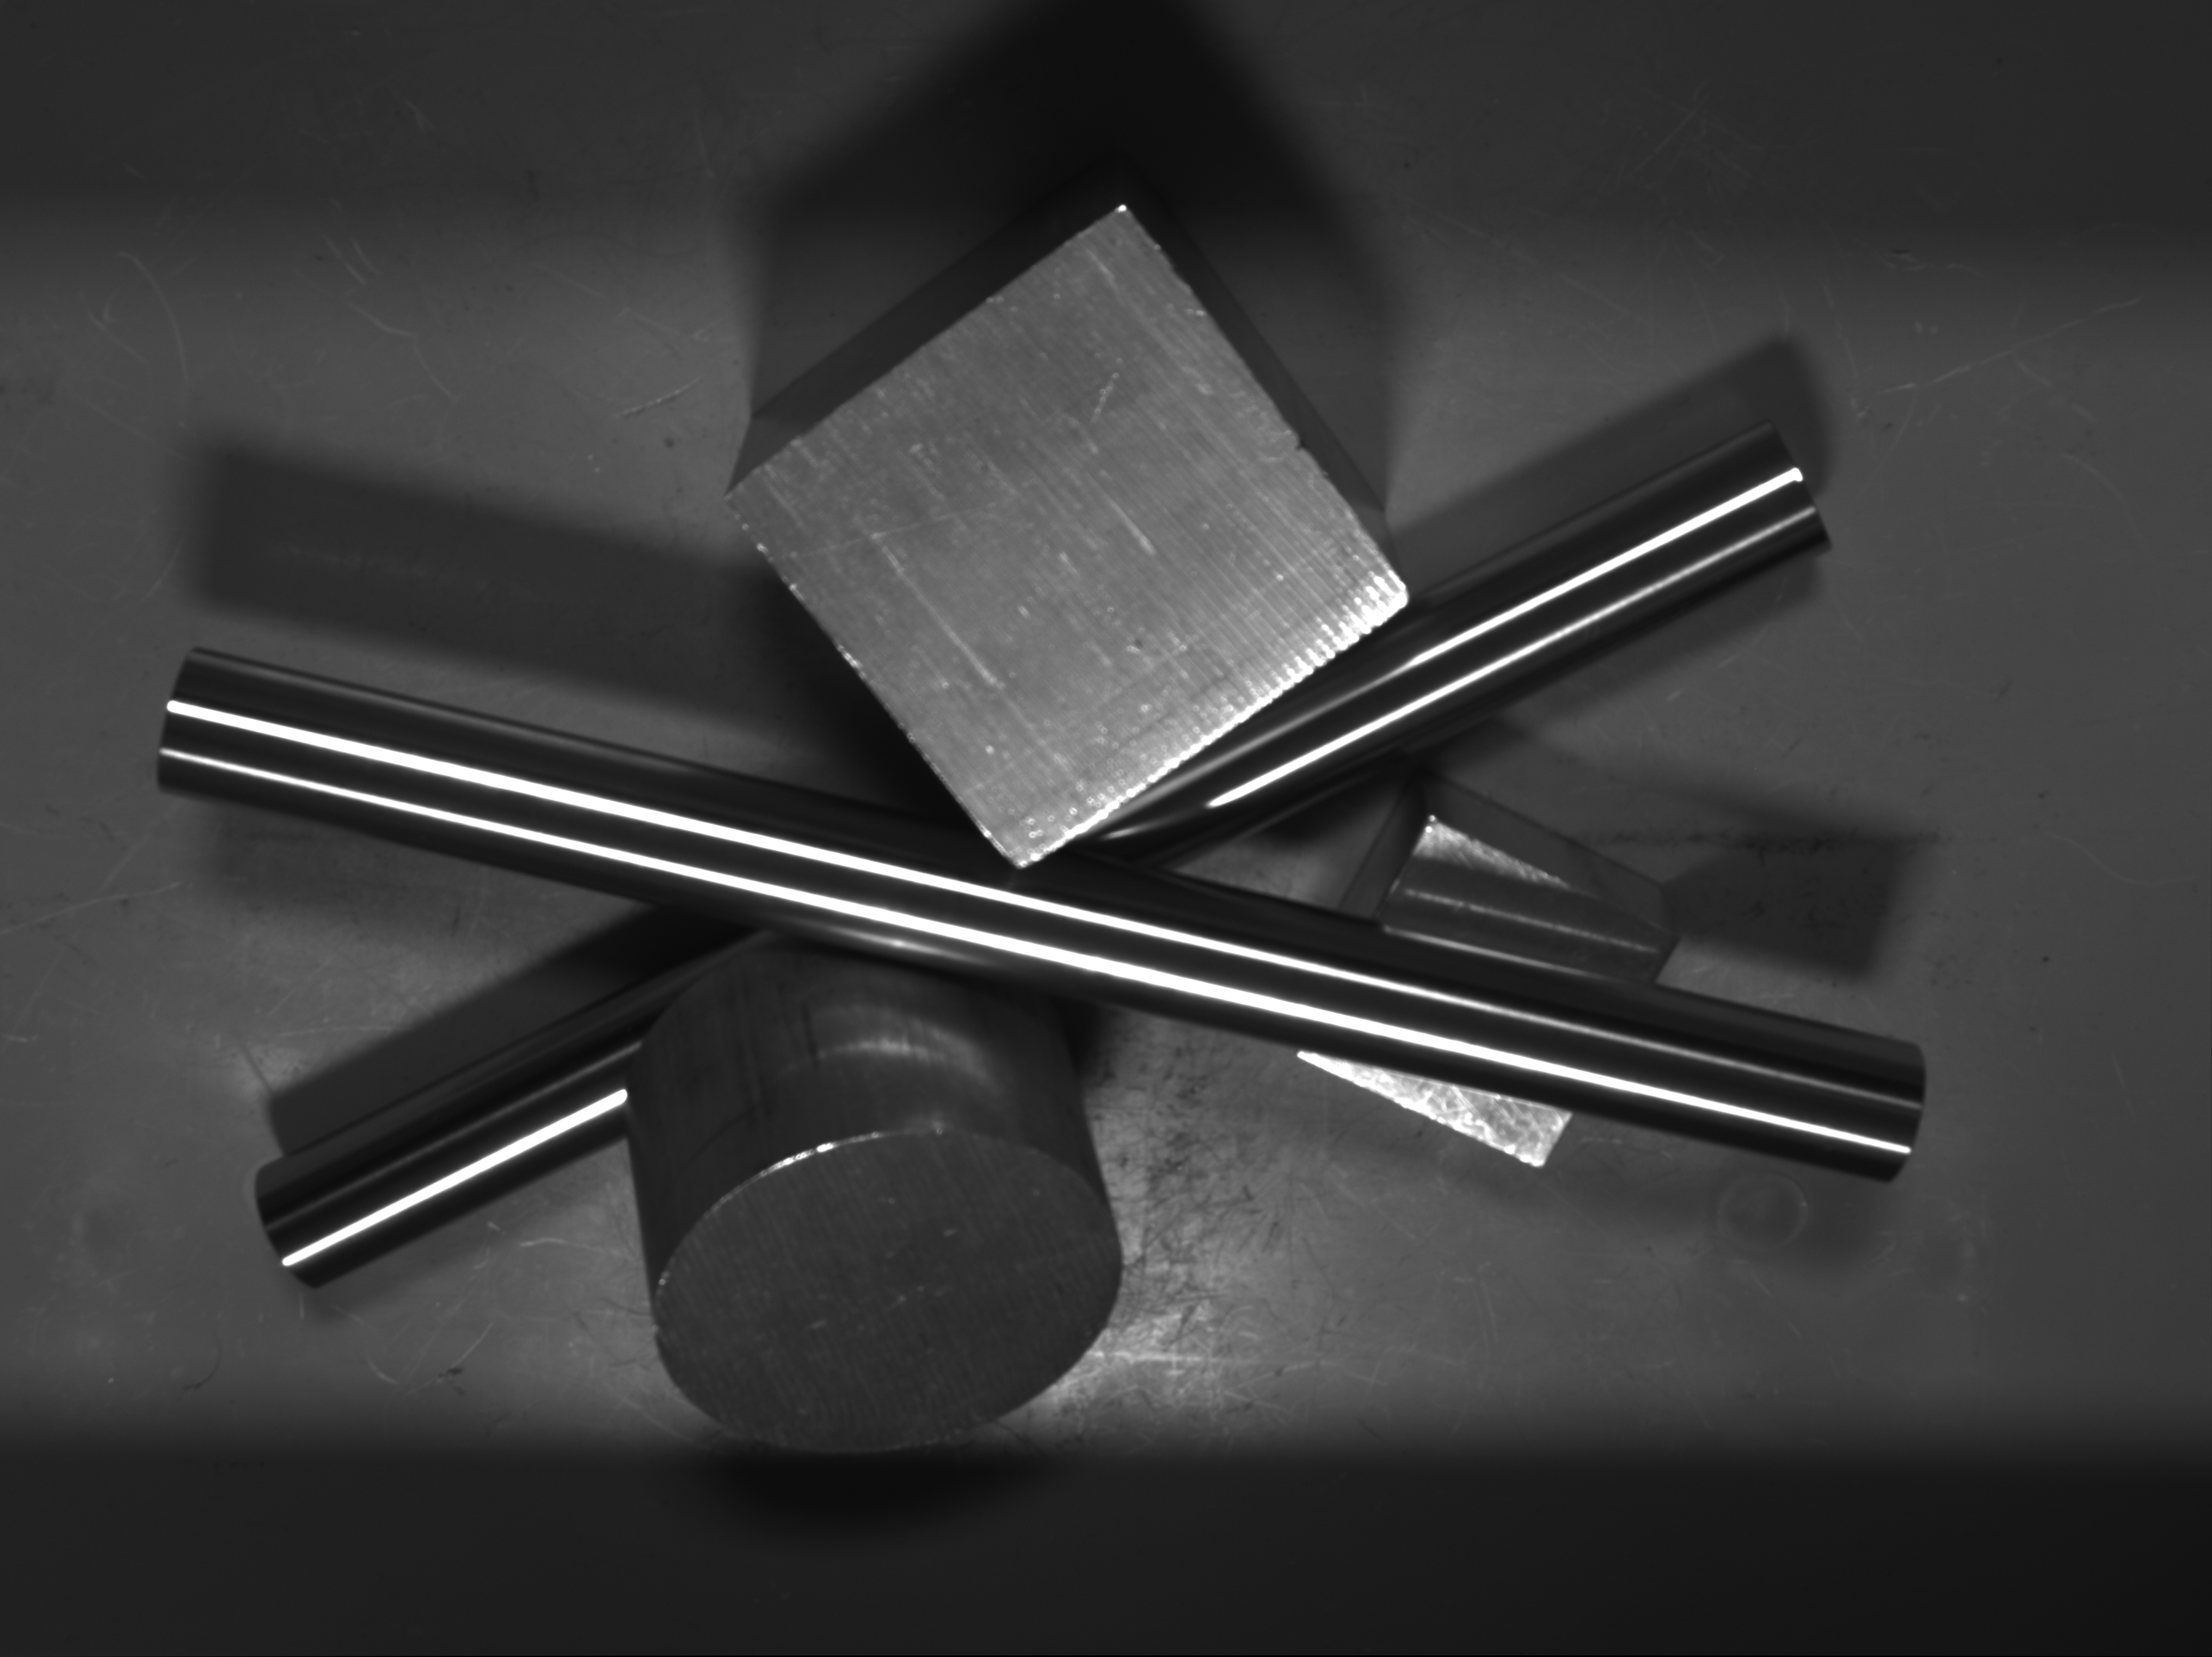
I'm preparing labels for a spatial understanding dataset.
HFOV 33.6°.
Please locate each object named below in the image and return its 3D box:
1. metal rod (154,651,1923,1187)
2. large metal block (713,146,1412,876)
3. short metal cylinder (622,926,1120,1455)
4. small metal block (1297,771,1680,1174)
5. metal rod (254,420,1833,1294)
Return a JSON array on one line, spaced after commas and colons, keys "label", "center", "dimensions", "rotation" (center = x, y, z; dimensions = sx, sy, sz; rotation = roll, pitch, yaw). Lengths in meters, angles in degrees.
[{"label": "metal rod", "center": [-0.009, 0.016, 0.621], "dimensions": [0.300, 0.025, 0.025], "rotation": [13, 109, -5]}, {"label": "large metal block", "center": [-0.007, -0.053, 0.609], "dimensions": [0.080, 0.050, 0.080], "rotation": [-34, 107, 11]}, {"label": "short metal cylinder", "center": [-0.042, 0.063, 0.636], "dimensions": [0.080, 0.050, 0.080], "rotation": [-8, 132, -9]}, {"label": "small metal block", "center": [0.066, 0.026, 0.650], "dimensions": [0.050, 0.025, 0.050], "rotation": [25, 108, -9]}, {"label": "metal rod", "center": [-0.015, 0.008, 0.644], "dimensions": [0.300, 0.025, 0.025], "rotation": [-26, 108, 9]}]
